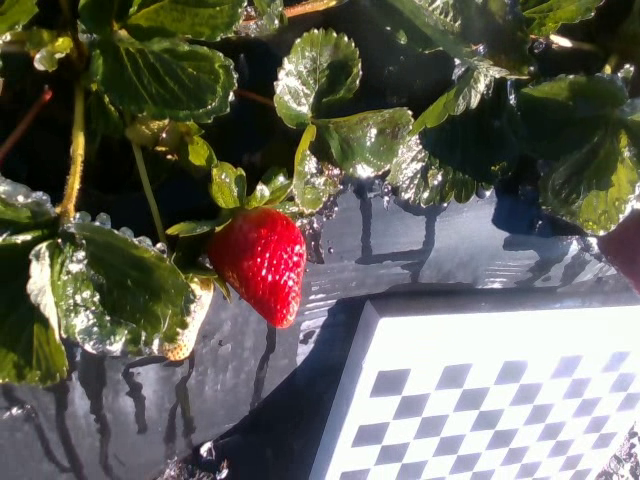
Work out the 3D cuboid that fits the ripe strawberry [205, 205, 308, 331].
[{"bbox_3d":[-0.024,0.017,0.282,0.043,0.061,0.046,-12,-4,-14],"label":"ripe strawberry"}]
